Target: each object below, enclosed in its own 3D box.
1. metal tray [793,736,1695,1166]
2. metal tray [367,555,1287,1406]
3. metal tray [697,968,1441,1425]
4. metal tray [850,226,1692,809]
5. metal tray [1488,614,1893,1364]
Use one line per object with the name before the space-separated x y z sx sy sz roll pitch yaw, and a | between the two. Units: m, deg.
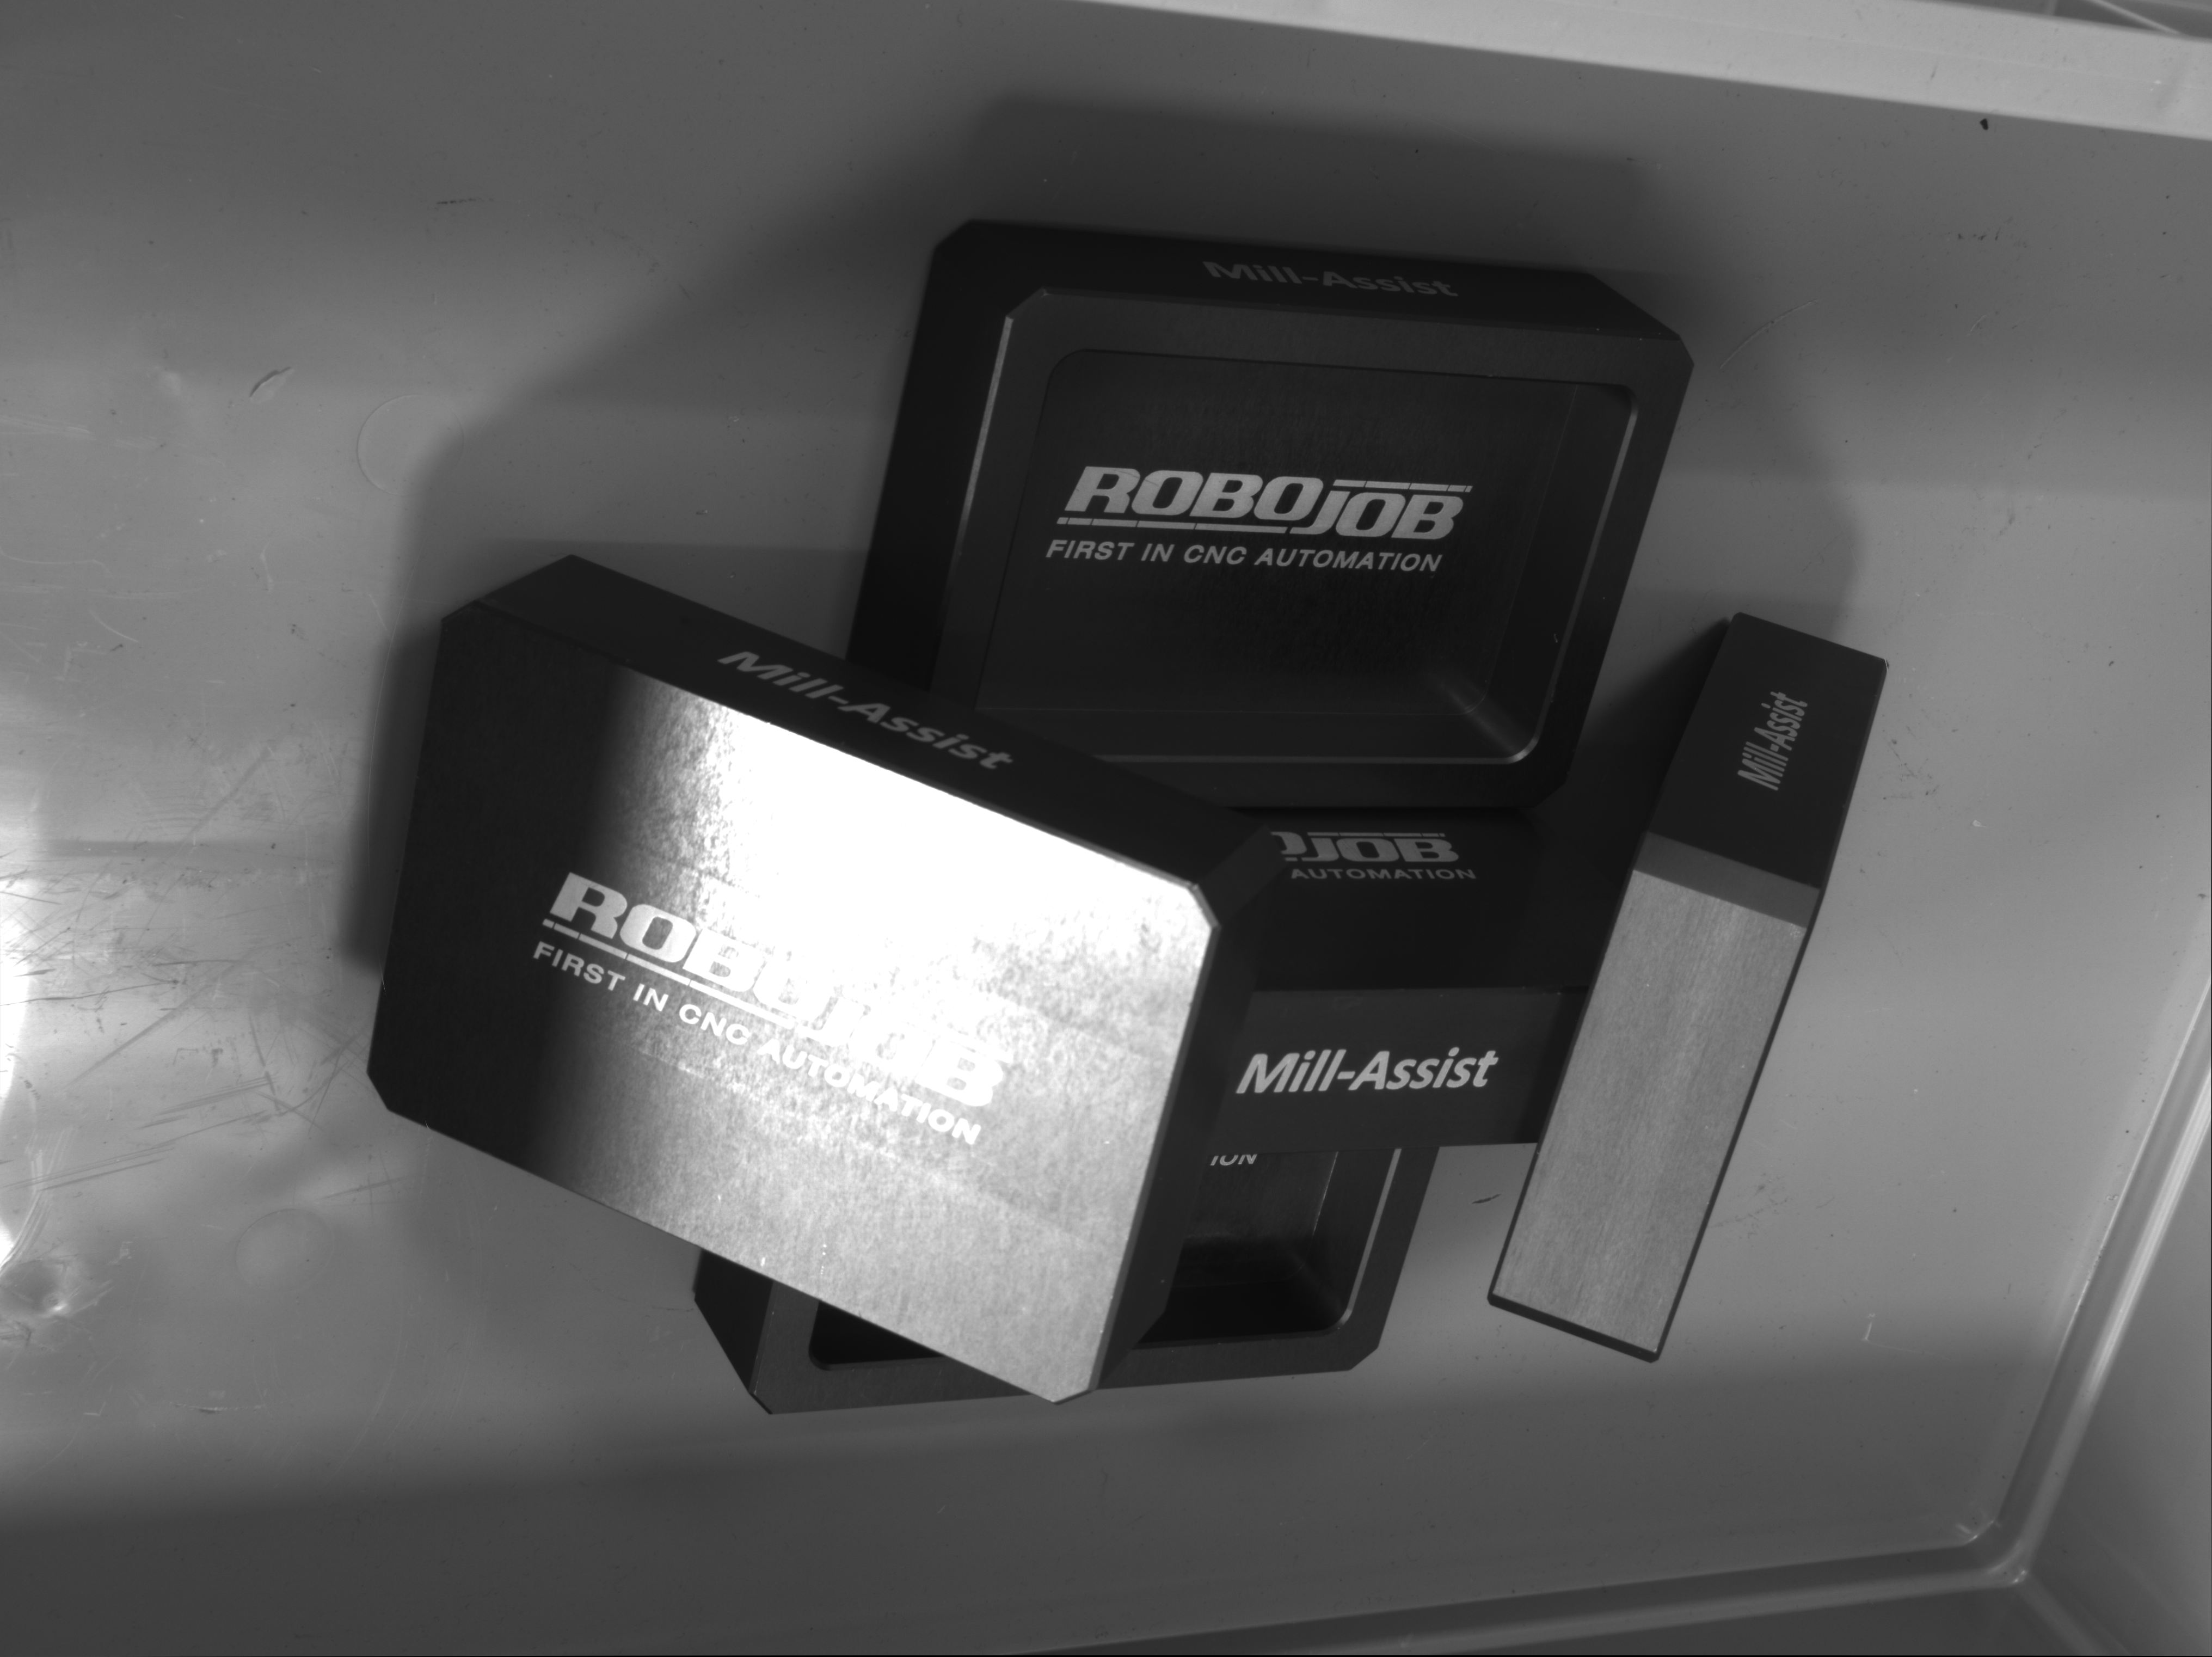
metal tray | 0.022 0.018 0.617 0.130 0.090 0.030 0 118 -29
metal tray | -0.046 0.022 0.566 0.030 0.130 0.090 -39 147 -61
metal tray | -0.002 0.058 0.665 0.130 0.030 0.090 0 118 -29
metal tray | 0.027 -0.050 0.617 0.130 0.030 0.090 -1 119 -29
metal tray | 0.105 0.025 0.648 0.030 0.130 0.090 19 114 10
